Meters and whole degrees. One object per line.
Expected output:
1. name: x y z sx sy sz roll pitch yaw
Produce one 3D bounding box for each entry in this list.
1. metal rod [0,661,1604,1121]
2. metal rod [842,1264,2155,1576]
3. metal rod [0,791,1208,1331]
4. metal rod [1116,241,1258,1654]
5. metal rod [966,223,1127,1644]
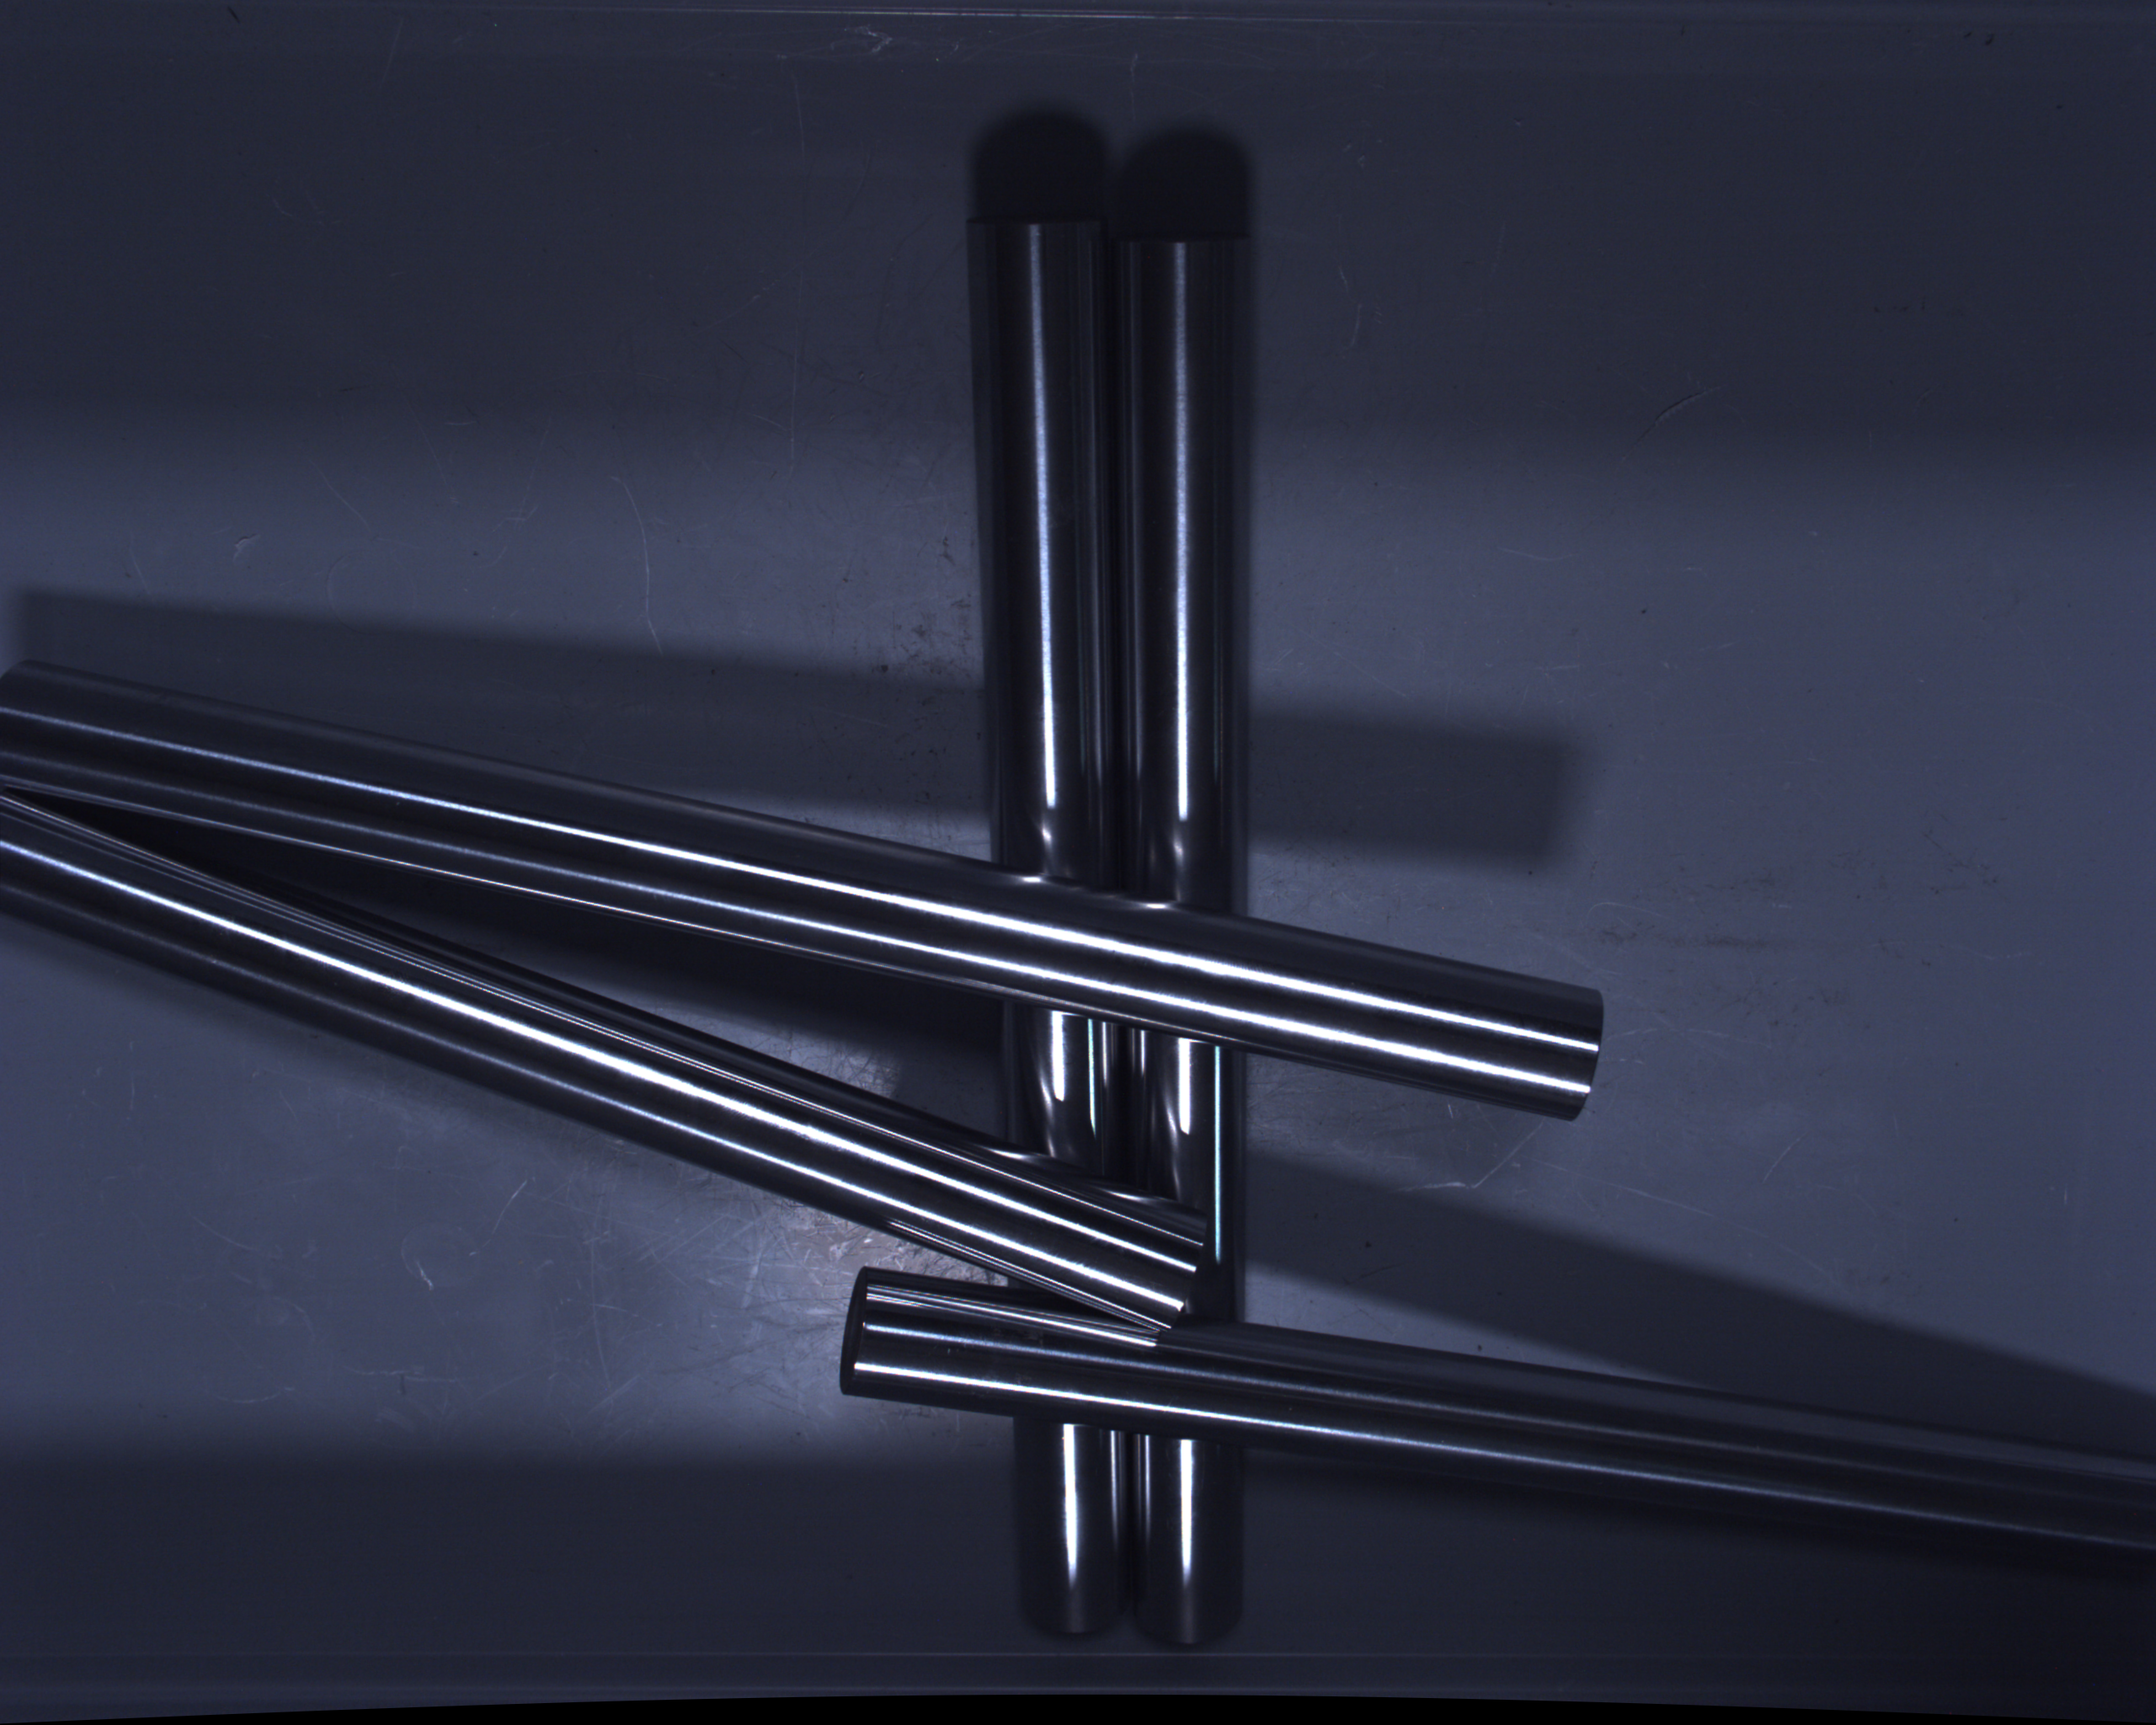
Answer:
1. metal rod: -0.054 0.005 0.390 0.302 0.025 0.025 12 110 3
2. metal rod: 0.102 0.119 0.437 0.302 0.025 0.025 11 110 -11
3. metal rod: -0.120 0.029 0.405 0.302 0.025 0.025 20 109 -2
4. metal rod: 0.022 0.030 0.420 0.025 0.025 0.298 -1 110 0
5. metal rod: -0.004 0.028 0.418 0.025 0.025 0.298 -1 110 0
